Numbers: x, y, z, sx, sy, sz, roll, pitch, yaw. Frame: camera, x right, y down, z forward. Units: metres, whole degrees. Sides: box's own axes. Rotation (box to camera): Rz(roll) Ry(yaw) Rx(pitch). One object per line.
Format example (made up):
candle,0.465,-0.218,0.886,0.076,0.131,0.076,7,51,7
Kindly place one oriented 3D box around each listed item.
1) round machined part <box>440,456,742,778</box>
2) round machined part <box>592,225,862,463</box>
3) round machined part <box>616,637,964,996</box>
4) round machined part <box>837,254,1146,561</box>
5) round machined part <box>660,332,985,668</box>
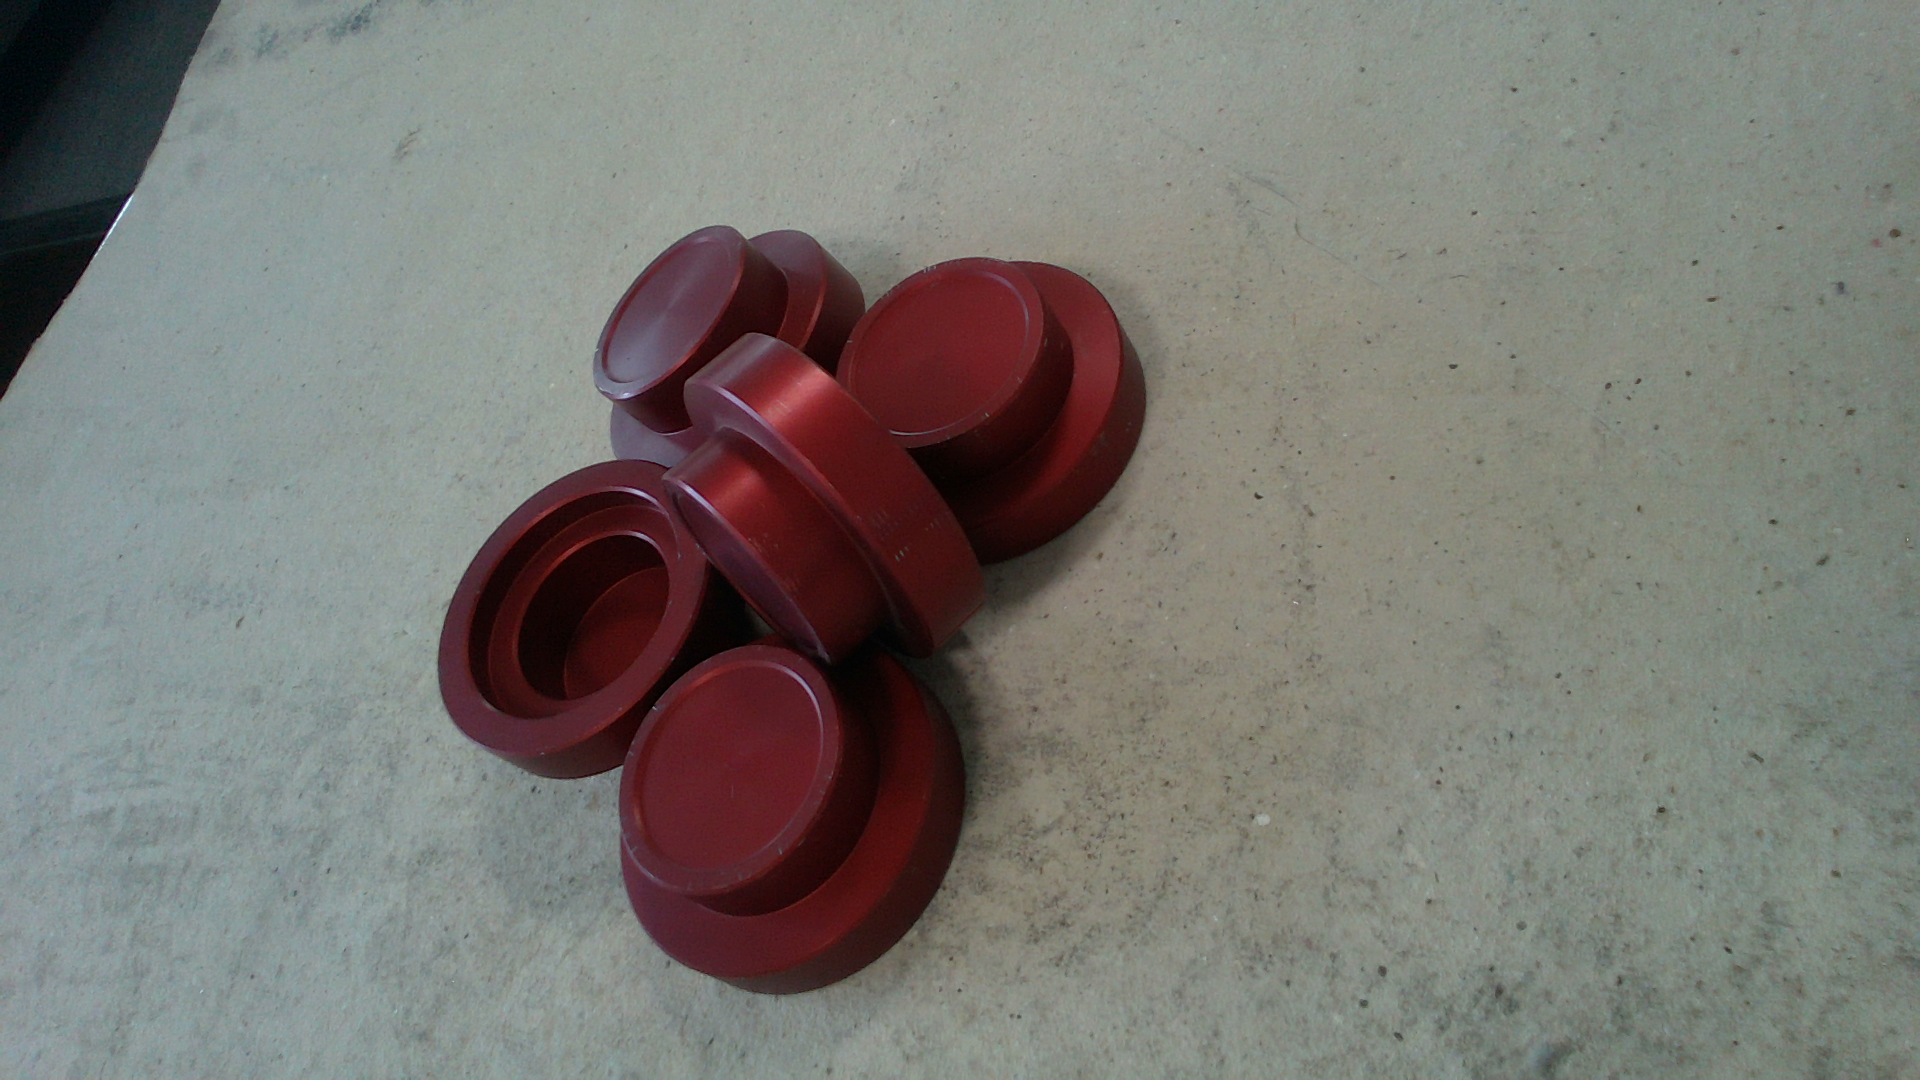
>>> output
round machined part,-0.107,0.027,0.425,0.098,0.042,0.098,-13,57,22
round machined part,-0.082,-0.064,0.453,0.098,0.042,0.098,-25,45,29
round machined part,-0.052,0.067,0.369,0.098,0.042,0.098,-13,55,20
round machined part,0.002,-0.045,0.409,0.098,0.042,0.098,-13,55,20
round machined part,-0.042,-0.004,0.368,0.042,0.098,0.098,-42,49,-18
